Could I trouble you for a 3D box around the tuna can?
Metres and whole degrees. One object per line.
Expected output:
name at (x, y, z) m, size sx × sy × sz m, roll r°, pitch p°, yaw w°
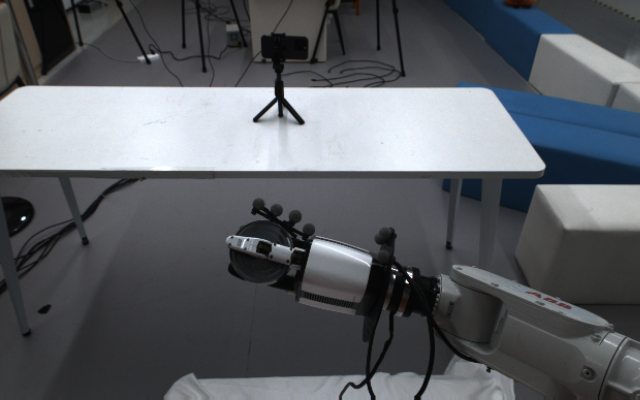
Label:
tuna can at (-0.075, 0.072, 0.658) m, size 0.085 × 0.034 × 0.085 m, roll 0°, pitch 72°, yaw 0°
